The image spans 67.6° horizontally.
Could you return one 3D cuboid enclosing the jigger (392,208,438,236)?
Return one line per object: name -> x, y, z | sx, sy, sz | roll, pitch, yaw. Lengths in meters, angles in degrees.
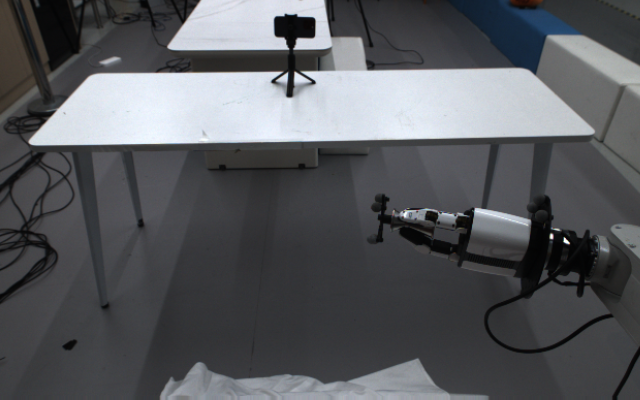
jigger -> 0.157, 0.033, 0.782 | 0.071, 0.043, 0.043 | 7, 35, 13
